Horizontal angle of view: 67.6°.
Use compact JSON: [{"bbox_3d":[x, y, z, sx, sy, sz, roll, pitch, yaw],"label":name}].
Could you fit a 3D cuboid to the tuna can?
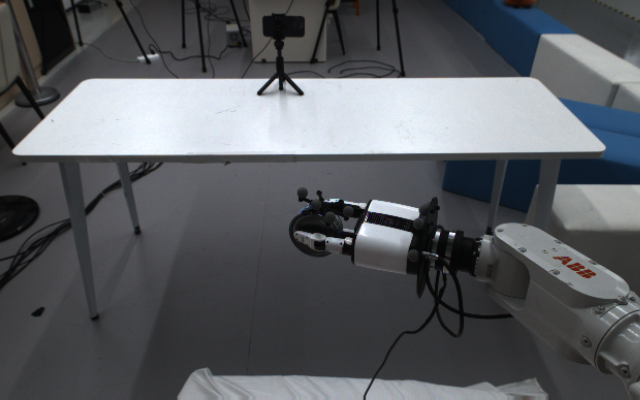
[{"bbox_3d":[-0.005,0.051,0.803,0.085,0.085,0.034,13,30,15],"label":"tuna can"}]
